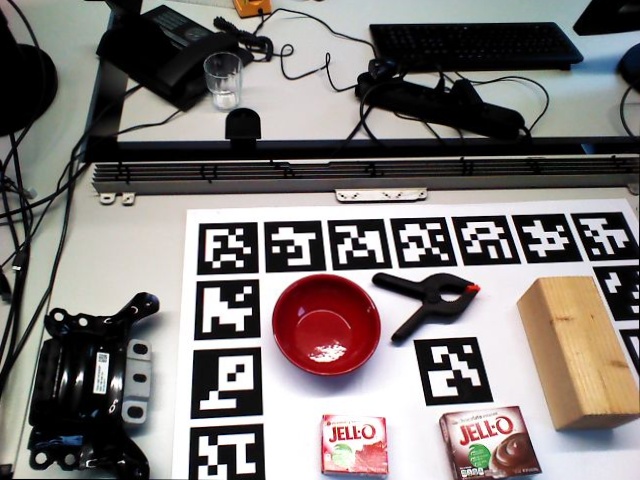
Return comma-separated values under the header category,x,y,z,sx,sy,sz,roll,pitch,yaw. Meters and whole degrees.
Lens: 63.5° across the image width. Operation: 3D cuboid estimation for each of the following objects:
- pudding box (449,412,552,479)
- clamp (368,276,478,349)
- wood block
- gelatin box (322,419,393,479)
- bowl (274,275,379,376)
category,x,y,z,sx,sy,sz,roll,pitch,yaw
pudding box,0.237,0.282,0.690,0.114,0.039,0.089,-4,62,-3
clamp,0.170,0.099,0.812,0.165,0.037,0.121,-10,59,-12
wood block,0.388,0.165,0.741,0.090,0.091,0.205,1,58,-4
gelatin box,0.050,0.279,0.684,0.089,0.030,0.073,5,59,0
bowl,0.013,0.133,0.768,0.162,0.055,0.161,2,60,-4
